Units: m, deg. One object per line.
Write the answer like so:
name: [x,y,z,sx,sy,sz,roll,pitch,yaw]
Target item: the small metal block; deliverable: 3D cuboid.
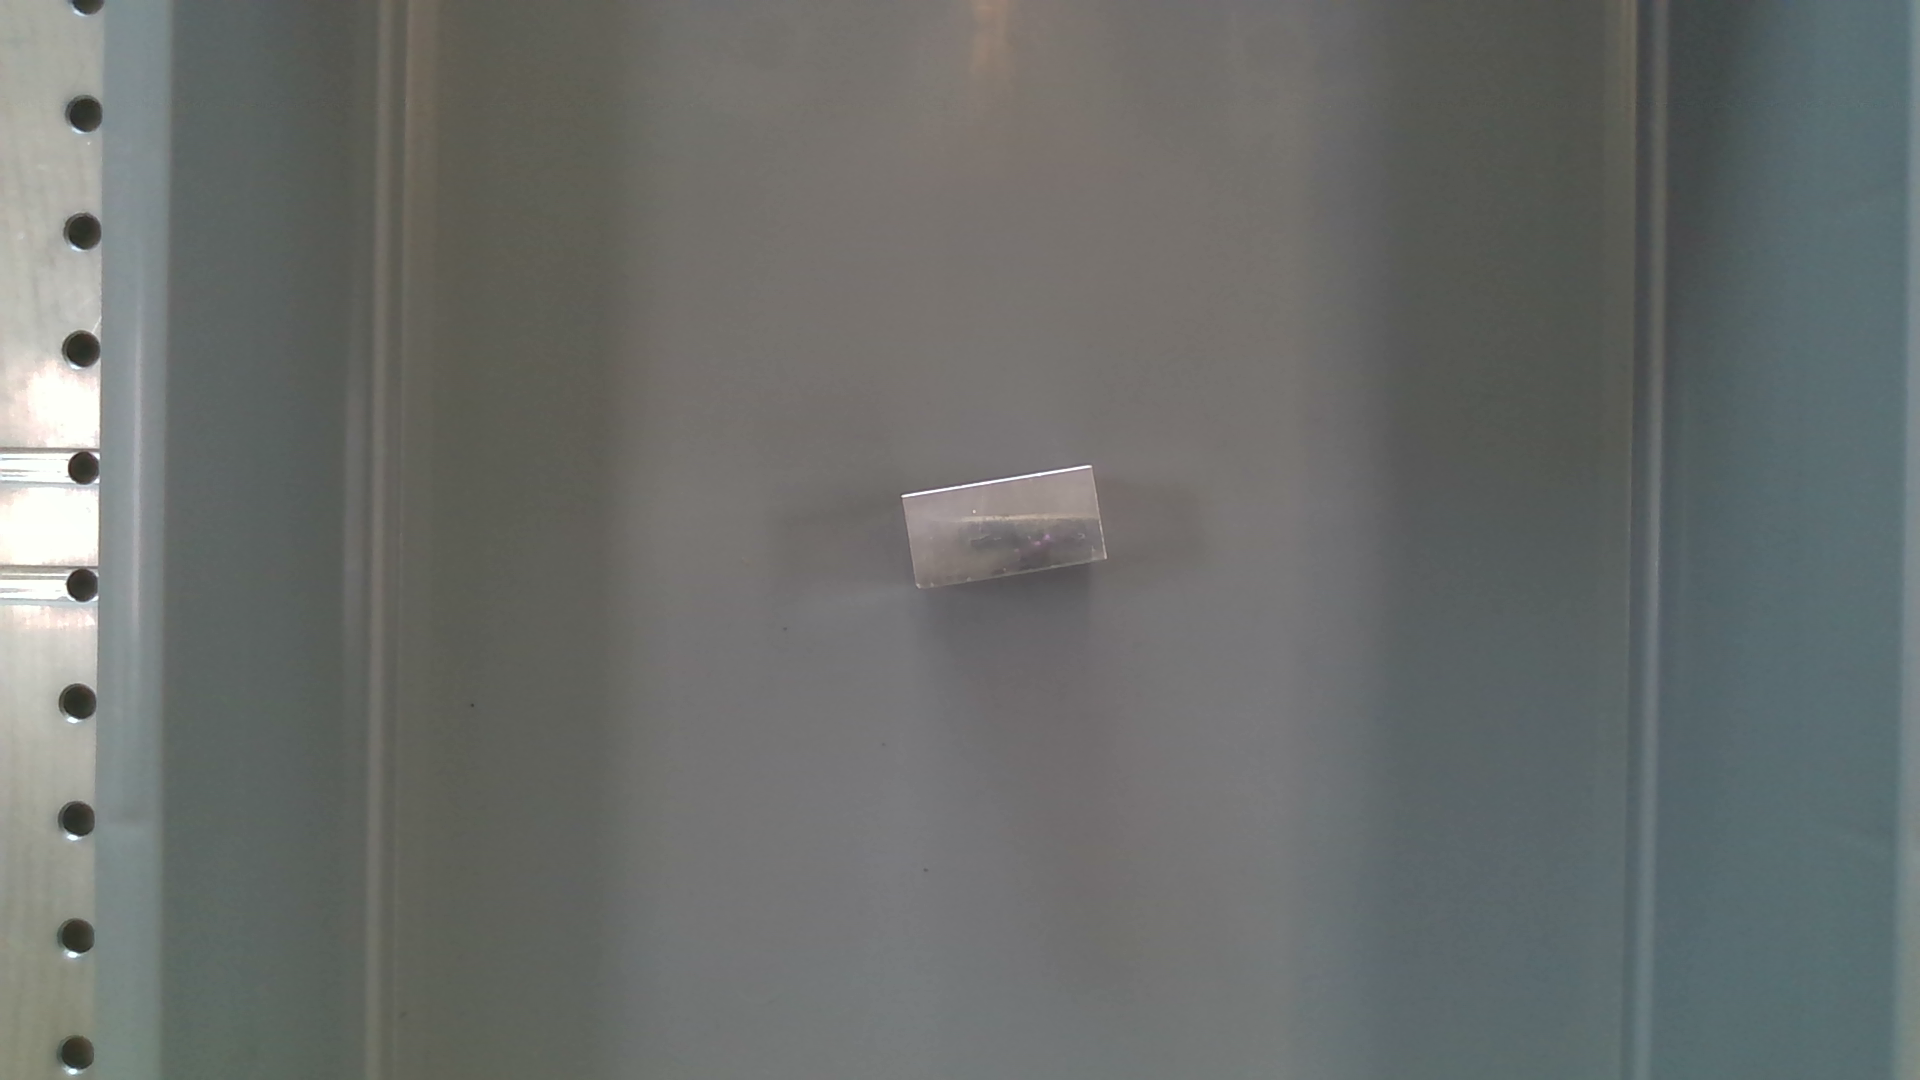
small metal block: [0.011,-0.003,0.380,0.050,0.050,0.025,-9,90,-1]
